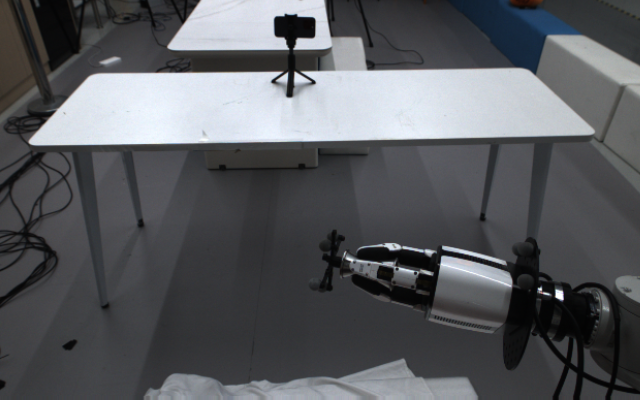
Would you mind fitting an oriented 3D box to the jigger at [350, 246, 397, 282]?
[{"bbox_3d":[0.070,0.086,0.627,0.071,0.043,0.043,10,35,16],"label":"jigger"}]
